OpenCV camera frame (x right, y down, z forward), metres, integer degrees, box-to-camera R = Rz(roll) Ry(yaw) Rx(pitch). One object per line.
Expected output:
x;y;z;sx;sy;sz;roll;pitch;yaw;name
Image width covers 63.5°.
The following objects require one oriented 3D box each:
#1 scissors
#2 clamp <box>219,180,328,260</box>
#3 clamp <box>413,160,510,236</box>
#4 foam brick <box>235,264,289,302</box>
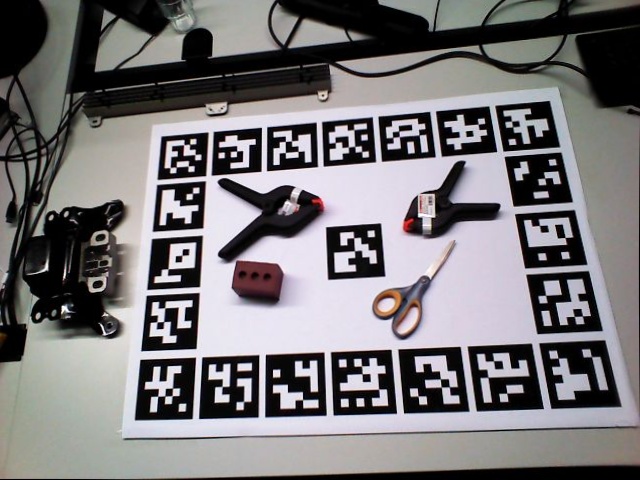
0.181;0.082;0.887;0.088;0.016;0.202;37;76;10;scissors
-0.086;-0.050;0.959;0.203;0.037;0.164;-7;66;3;clamp
0.240;-0.059;0.929;0.165;0.036;0.121;-30;76;-4;clamp
-0.101;0.077;0.909;0.078;0.051;0.052;3;72;12;foam brick
